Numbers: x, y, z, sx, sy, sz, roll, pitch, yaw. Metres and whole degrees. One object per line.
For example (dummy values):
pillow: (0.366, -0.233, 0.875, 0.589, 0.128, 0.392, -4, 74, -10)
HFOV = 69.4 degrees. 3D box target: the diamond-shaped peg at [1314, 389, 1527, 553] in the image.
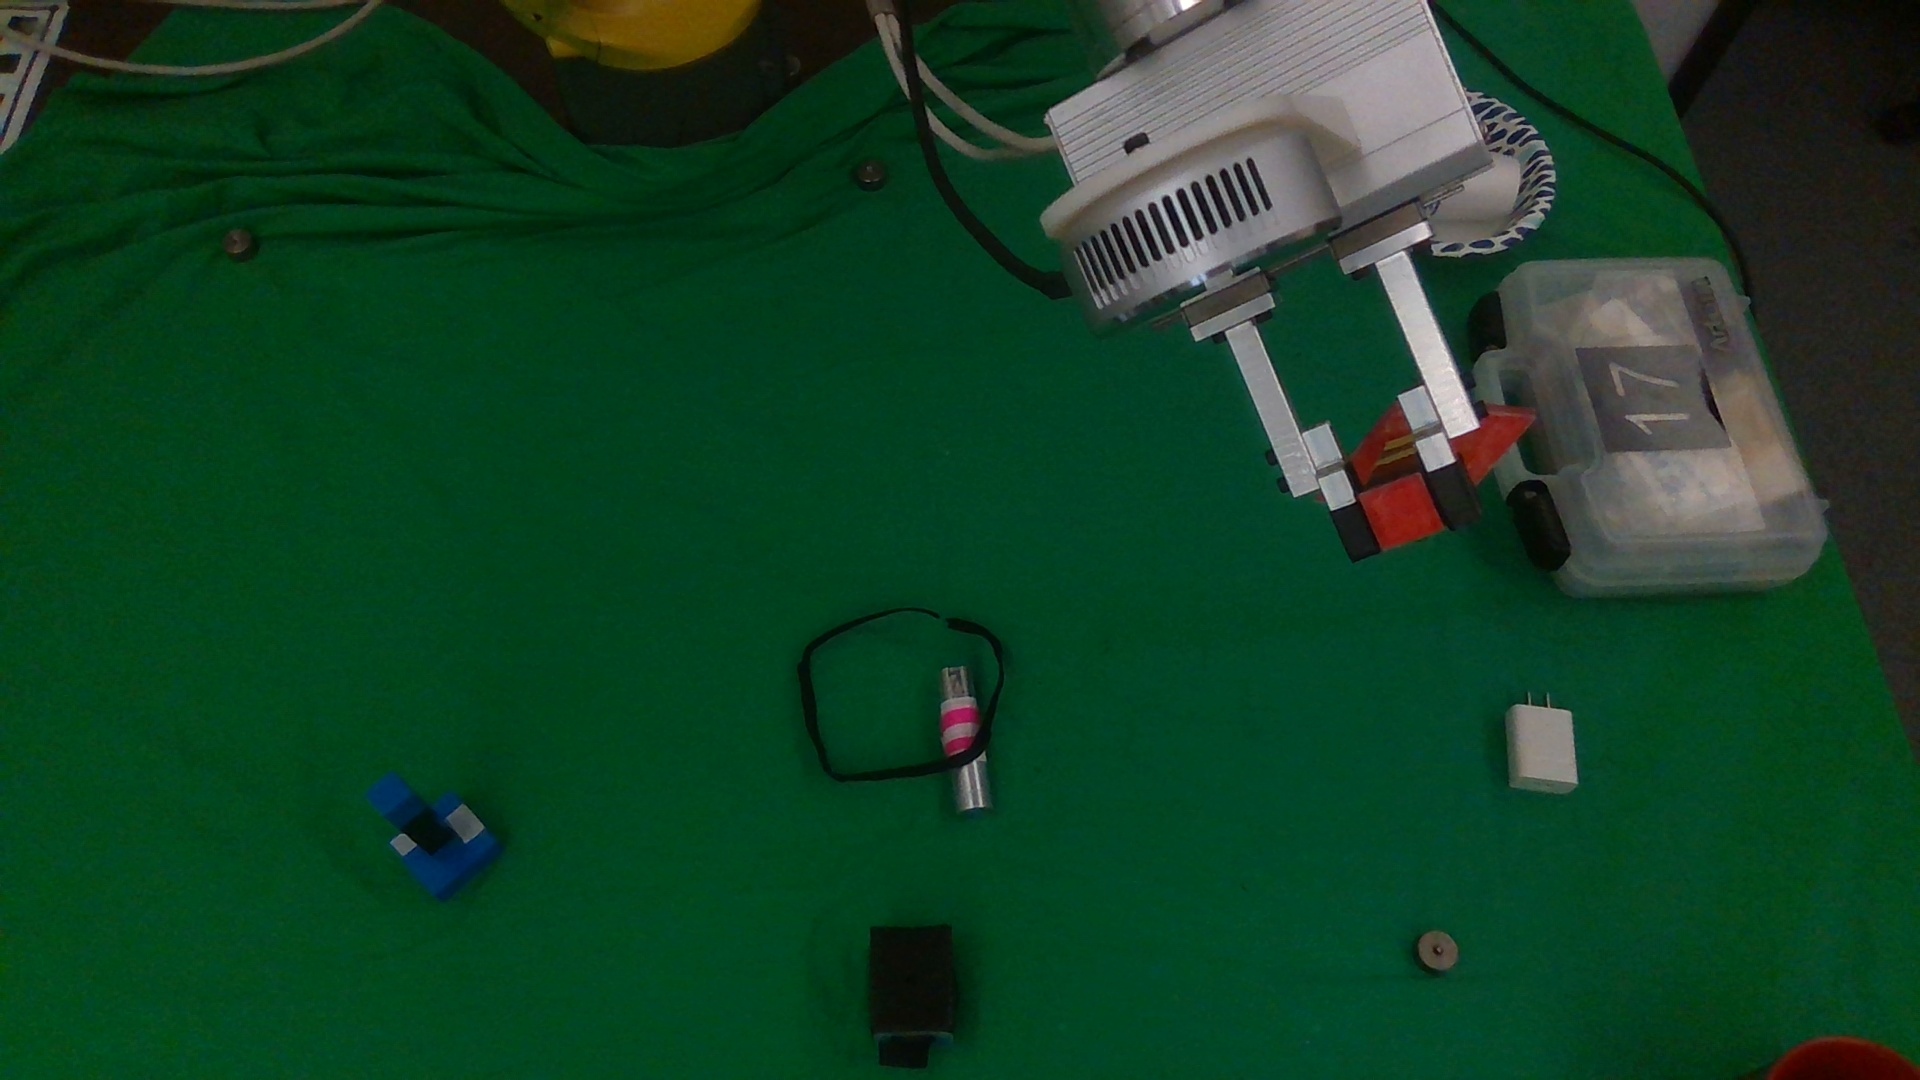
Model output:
diamond-shaped peg: (0.156, -0.023, 0.488, 0.045, 0.074, 0.121, 39, 24, 9)

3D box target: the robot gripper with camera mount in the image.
robot gripper with camera mount: (0.094, -0.066, 0.375, 0.119, 0.193, 0.158, -24, 93, 18)
